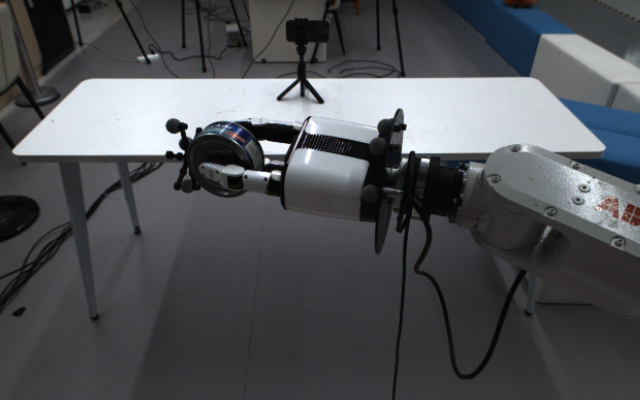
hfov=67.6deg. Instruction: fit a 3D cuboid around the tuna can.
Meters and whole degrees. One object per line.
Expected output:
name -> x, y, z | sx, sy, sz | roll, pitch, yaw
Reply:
tuna can -> -0.108, -0.048, 0.565 | 0.085, 0.085, 0.034 | 9, 33, 10
